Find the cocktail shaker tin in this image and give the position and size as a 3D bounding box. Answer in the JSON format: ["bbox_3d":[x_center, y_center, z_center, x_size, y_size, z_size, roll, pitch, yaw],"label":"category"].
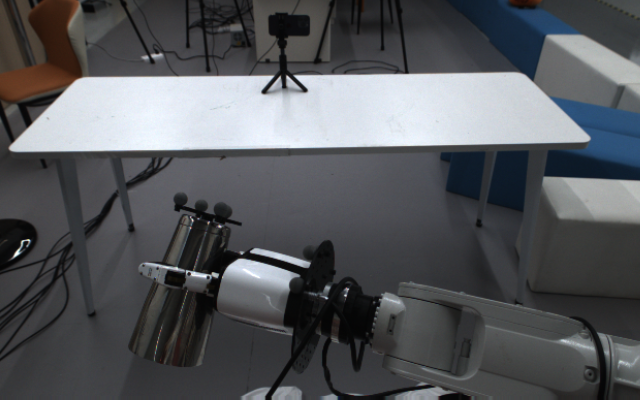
[{"bbox_3d":[-0.168,0.109,0.604,0.093,0.170,0.093,16,-7,2],"label":"cocktail shaker tin"}]
